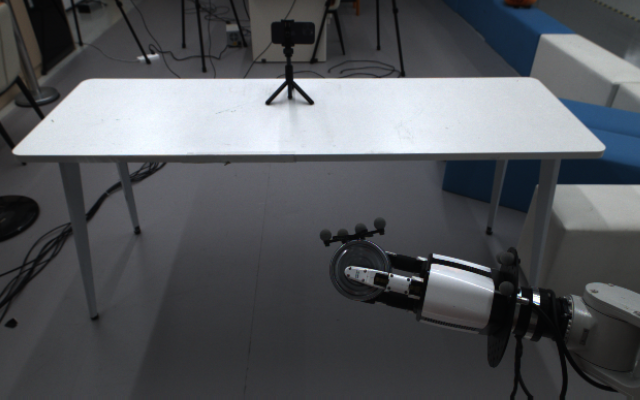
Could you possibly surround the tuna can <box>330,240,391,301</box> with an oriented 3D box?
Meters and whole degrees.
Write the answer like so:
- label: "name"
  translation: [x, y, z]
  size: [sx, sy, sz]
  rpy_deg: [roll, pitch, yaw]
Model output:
- label: "tuna can"
  translation: [0.061, 0.104, 0.676]
  size: [0.085, 0.085, 0.034]
  rpy_deg: [12, -6, 15]
